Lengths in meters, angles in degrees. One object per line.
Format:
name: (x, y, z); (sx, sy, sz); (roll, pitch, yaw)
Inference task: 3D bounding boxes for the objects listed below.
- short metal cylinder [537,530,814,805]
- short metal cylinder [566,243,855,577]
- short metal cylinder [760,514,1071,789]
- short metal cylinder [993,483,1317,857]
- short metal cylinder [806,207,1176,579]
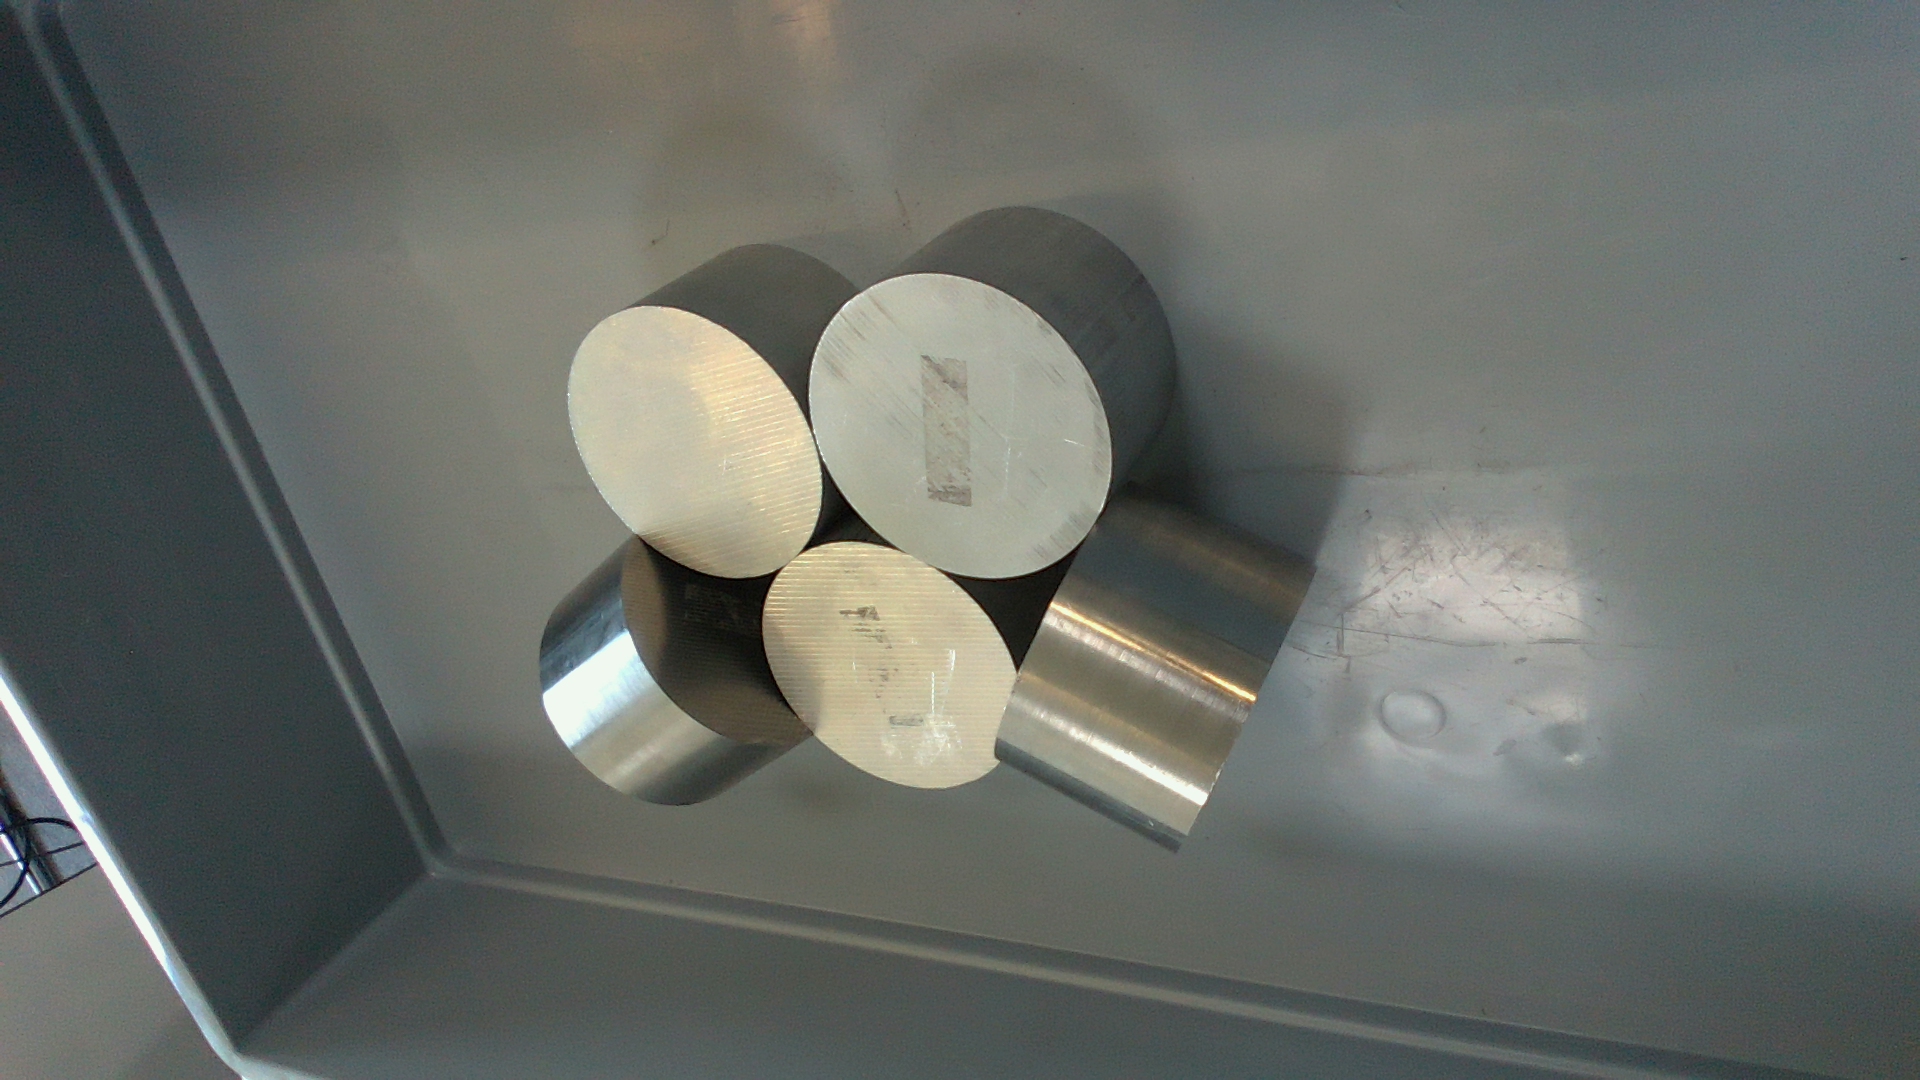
short metal cylinder: (-0.080, 0.034, 0.420); (0.050, 0.080, 0.080); (-35, 99, 38)
short metal cylinder: (-0.062, -0.037, 0.386); (0.080, 0.050, 0.080); (13, 124, 21)
short metal cylinder: (-0.010, 0.024, 0.395); (0.080, 0.050, 0.080); (13, 124, 21)
short metal cylinder: (0.049, 0.032, 0.349); (0.050, 0.080, 0.080); (26, 128, 12)
short metal cylinder: (0.009, -0.037, 0.348); (0.080, 0.050, 0.080); (13, 124, 21)
